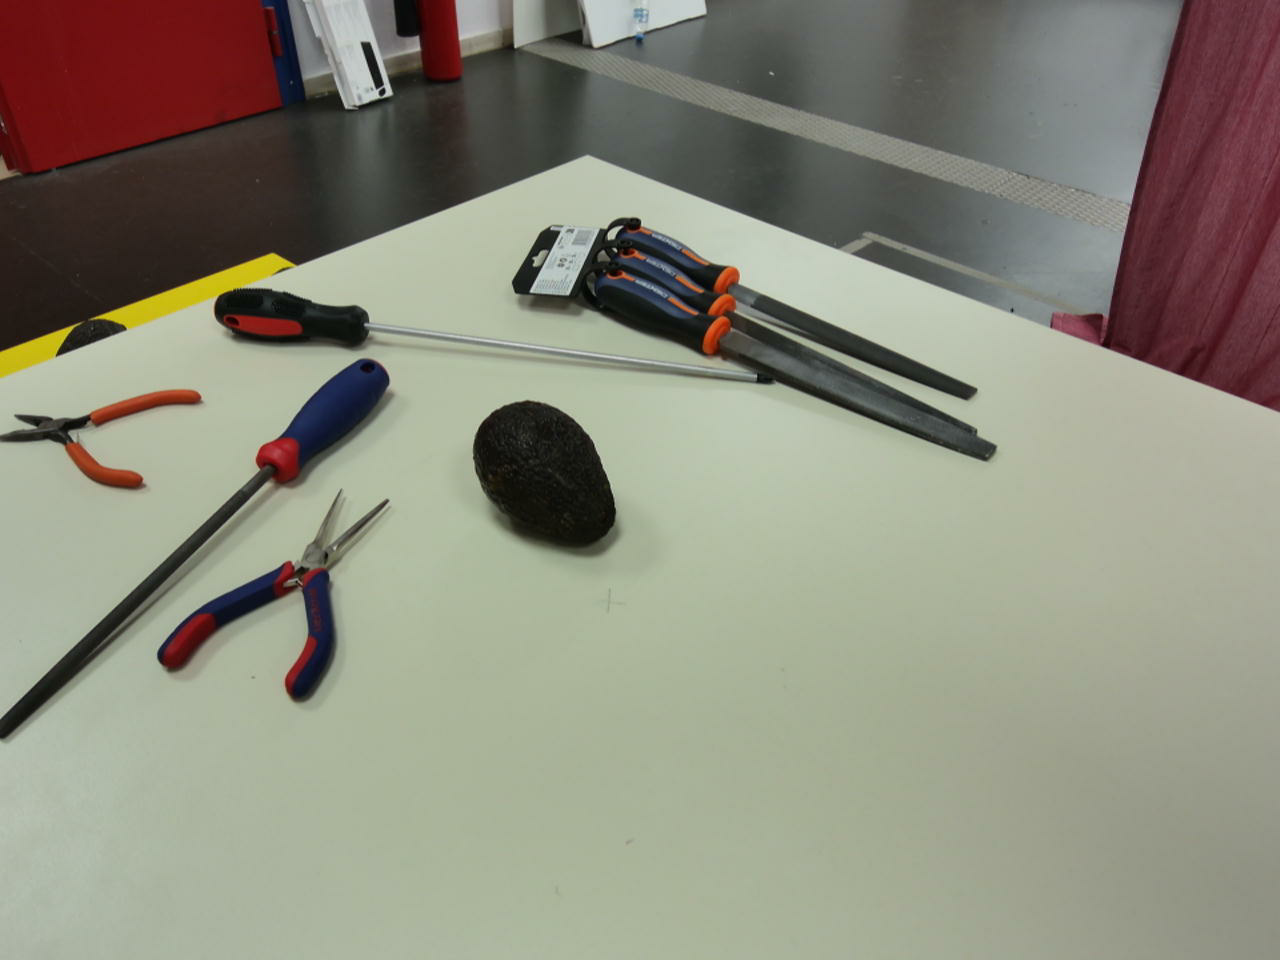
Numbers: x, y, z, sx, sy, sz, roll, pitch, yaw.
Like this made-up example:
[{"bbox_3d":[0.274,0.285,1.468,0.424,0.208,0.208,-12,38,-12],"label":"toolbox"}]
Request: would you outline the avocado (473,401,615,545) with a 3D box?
[{"bbox_3d":[-0.057,-0.005,0.572,0.070,0.069,0.090,-13,40,-19],"label":"avocado"}]
